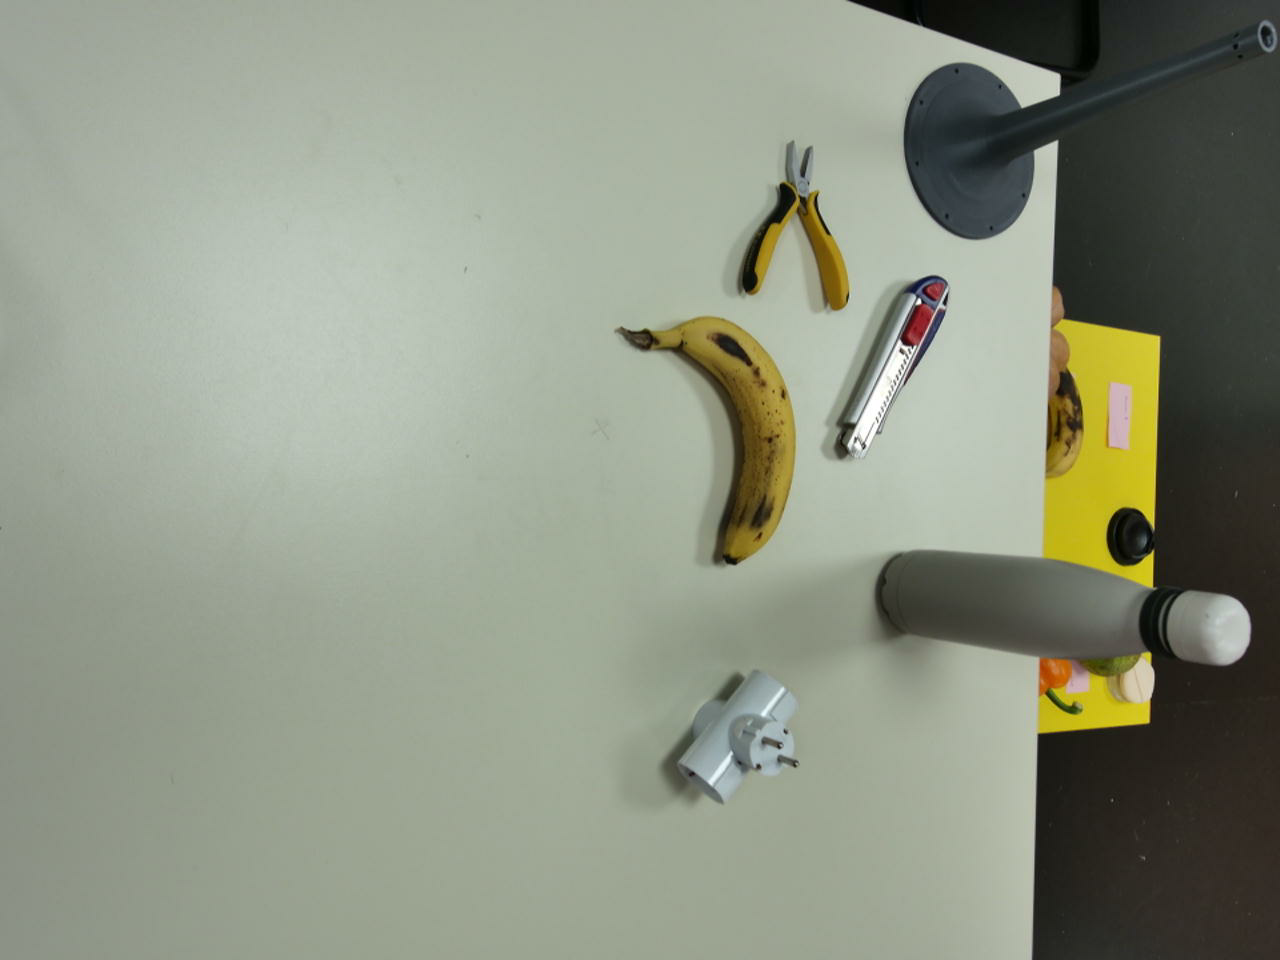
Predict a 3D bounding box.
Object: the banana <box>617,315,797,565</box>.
[{"bbox_3d":[0.067,-0.040,0.735,0.097,0.038,0.186,-27,103,-25],"label":"banana"}]
